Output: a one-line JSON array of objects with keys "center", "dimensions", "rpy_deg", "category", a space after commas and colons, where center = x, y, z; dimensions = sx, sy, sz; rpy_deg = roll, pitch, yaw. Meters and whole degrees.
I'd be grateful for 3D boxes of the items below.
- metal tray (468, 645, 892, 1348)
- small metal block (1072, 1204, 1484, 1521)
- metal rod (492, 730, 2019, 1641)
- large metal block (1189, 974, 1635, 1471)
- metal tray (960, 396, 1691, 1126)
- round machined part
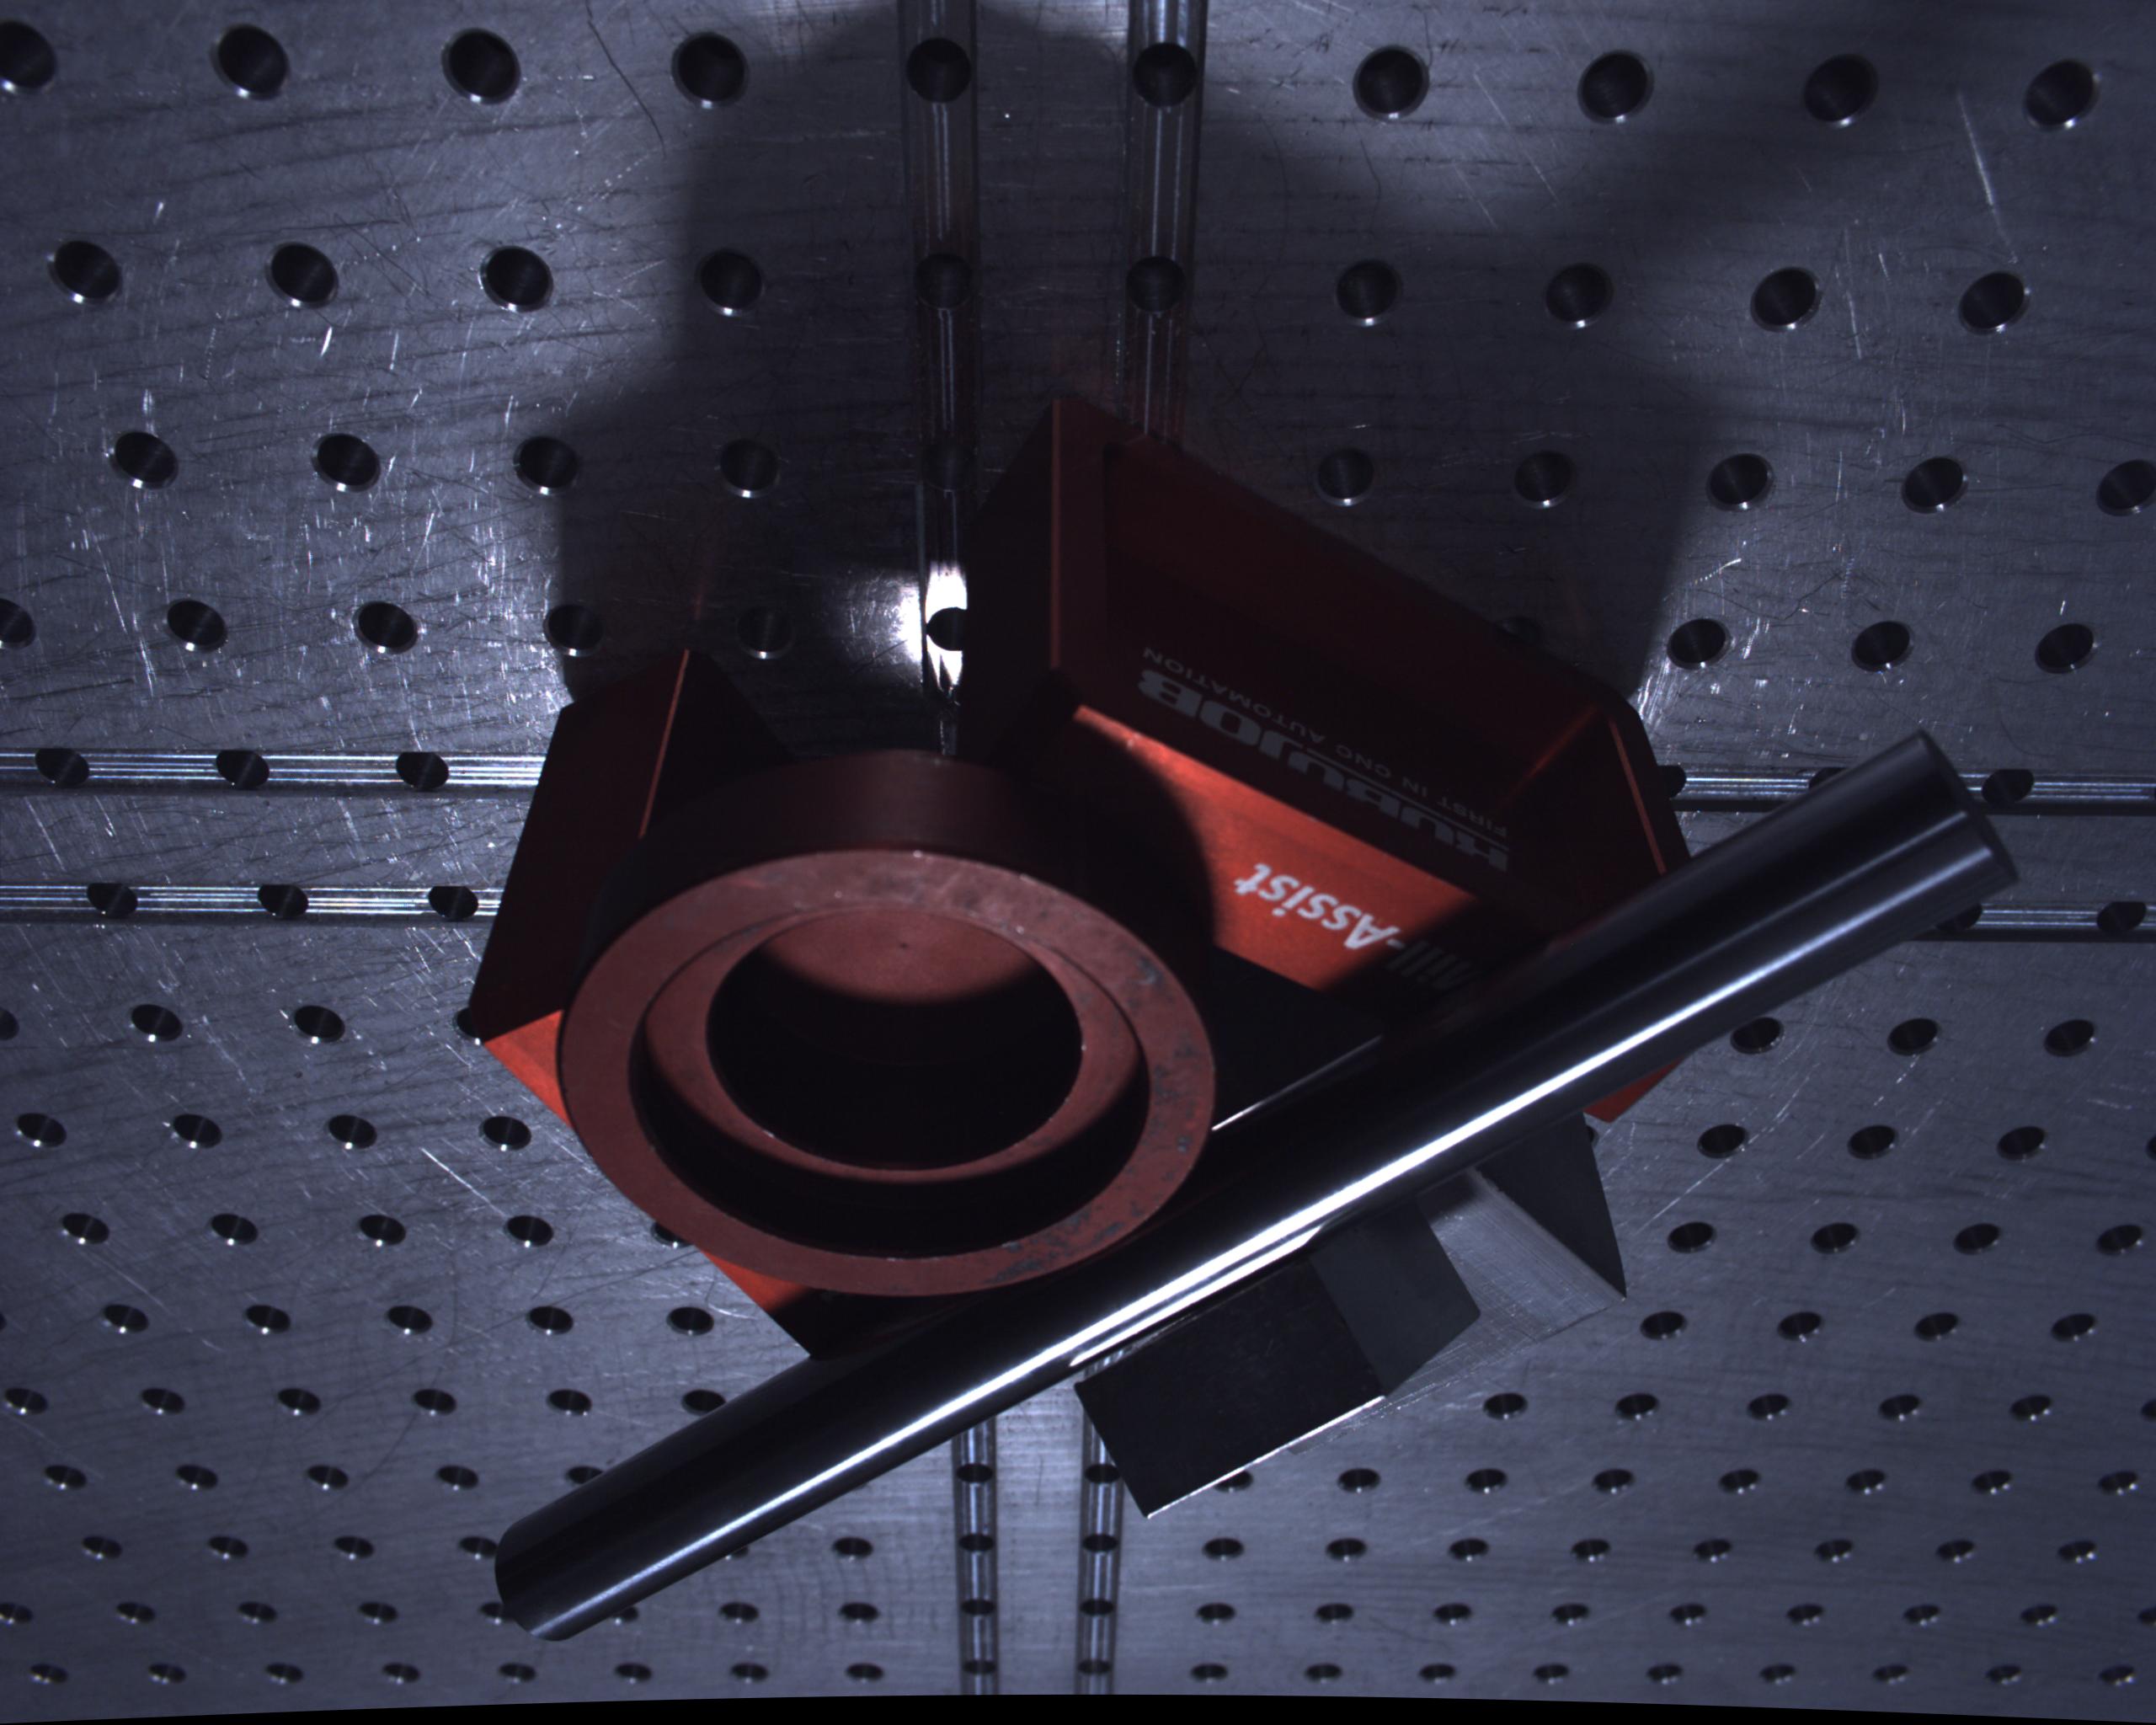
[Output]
[{"center": [-0.054, 0.034, 0.396], "dimensions": [0.030, 0.090, 0.130], "rpy_deg": [-23, 127, 18], "category": "metal tray"}, {"center": [0.035, 0.084, 0.360], "dimensions": [0.050, 0.050, 0.025], "rpy_deg": [-35, 78, 25], "category": "small metal block"}, {"center": [0.009, 0.067, 0.350], "dimensions": [0.299, 0.025, 0.025], "rpy_deg": [-33, 123, 24], "category": "metal rod"}, {"center": [0.058, 0.064, 0.427], "dimensions": [0.080, 0.080, 0.050], "rpy_deg": [-34, 123, 25], "category": "large metal block"}, {"center": [0.045, -0.018, 0.353], "dimensions": [0.131, 0.090, 0.030], "rpy_deg": [25, 127, -20], "category": "metal tray"}, {"center": [-0.028, 0.021, 0.327], "dimensions": [0.099, 0.042, 0.097], "rpy_deg": [-1, 130, 0], "category": "round machined part"}]
